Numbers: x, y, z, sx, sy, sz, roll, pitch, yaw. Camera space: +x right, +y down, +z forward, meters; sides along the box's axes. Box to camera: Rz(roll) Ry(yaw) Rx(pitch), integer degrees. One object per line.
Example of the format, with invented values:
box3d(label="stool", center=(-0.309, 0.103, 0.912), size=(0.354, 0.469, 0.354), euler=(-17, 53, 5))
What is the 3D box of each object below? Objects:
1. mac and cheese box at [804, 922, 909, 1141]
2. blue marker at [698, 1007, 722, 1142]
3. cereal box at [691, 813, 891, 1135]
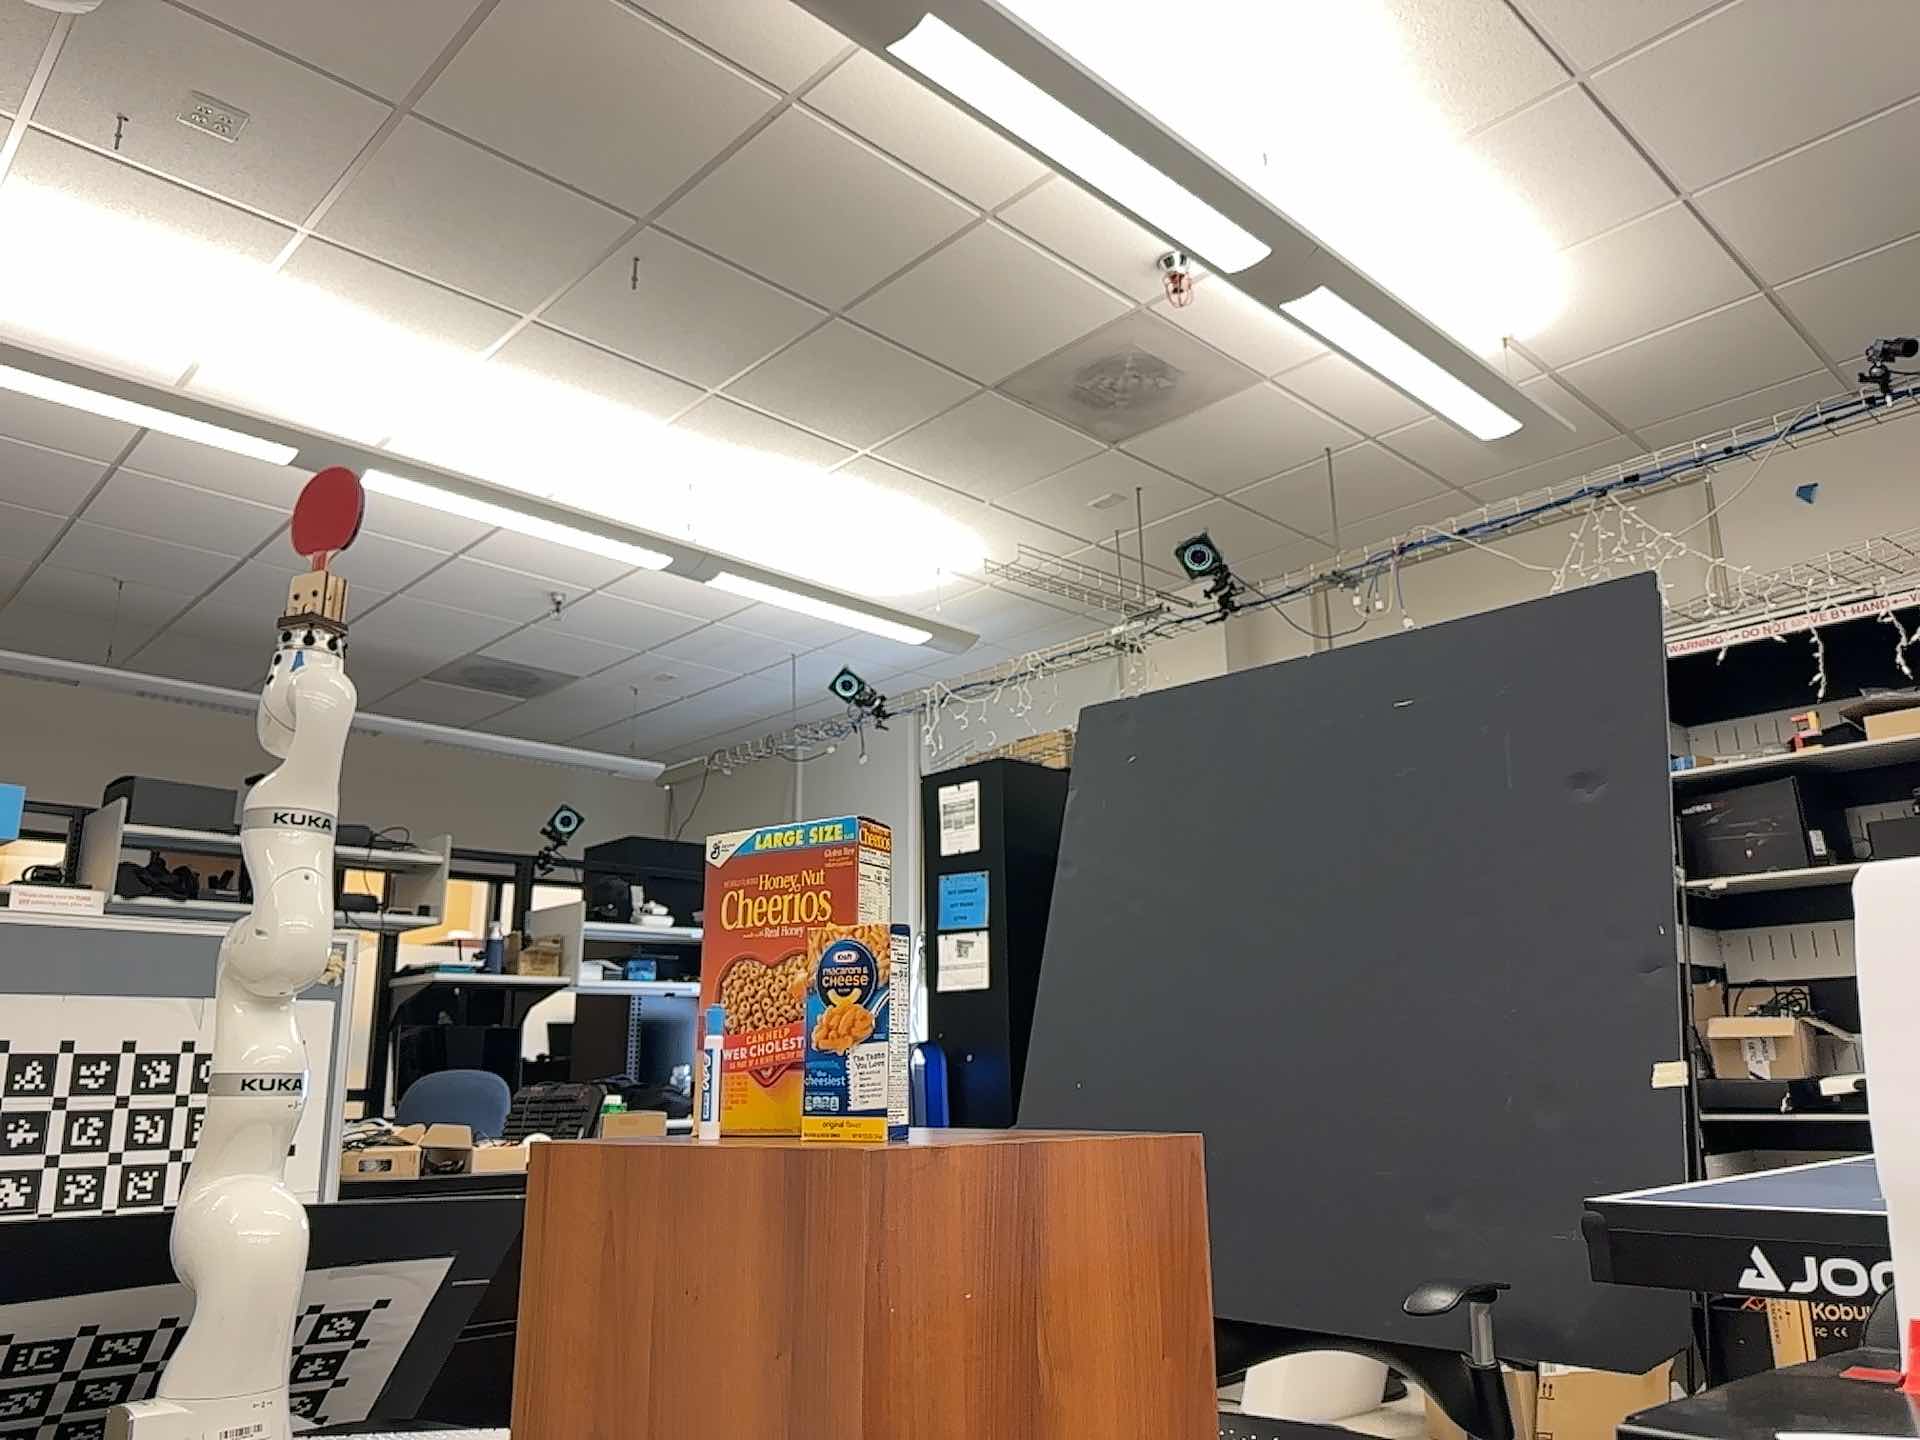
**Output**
box3d(label="mac and cheese box", center=(-0.091, 0.275, 1.193), size=(0.088, 0.181, 0.035), euler=(-13, -20, 39))
box3d(label="blue marker", center=(-0.235, 0.331, 1.265), size=(0.020, 0.121, 0.020), euler=(-2, -14, 0))
box3d(label="cereal box", center=(-0.171, 0.258, 1.363), size=(0.195, 0.297, 0.065), euler=(-10, -18, 33))
